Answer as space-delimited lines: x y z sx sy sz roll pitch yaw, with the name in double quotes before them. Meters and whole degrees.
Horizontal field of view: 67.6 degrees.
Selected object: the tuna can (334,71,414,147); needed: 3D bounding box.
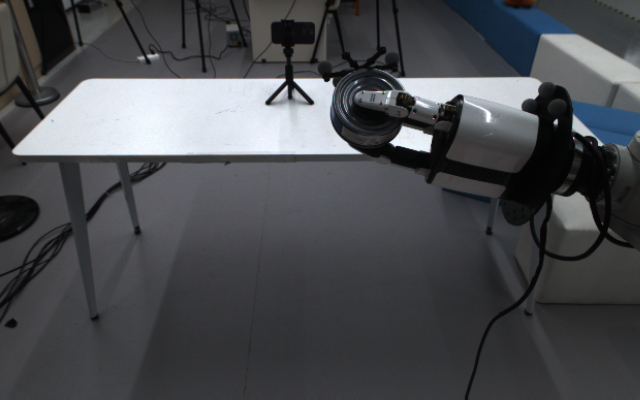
"tuna can" 0.060 -0.099 0.544 0.085 0.034 0.085 0 72 -1
